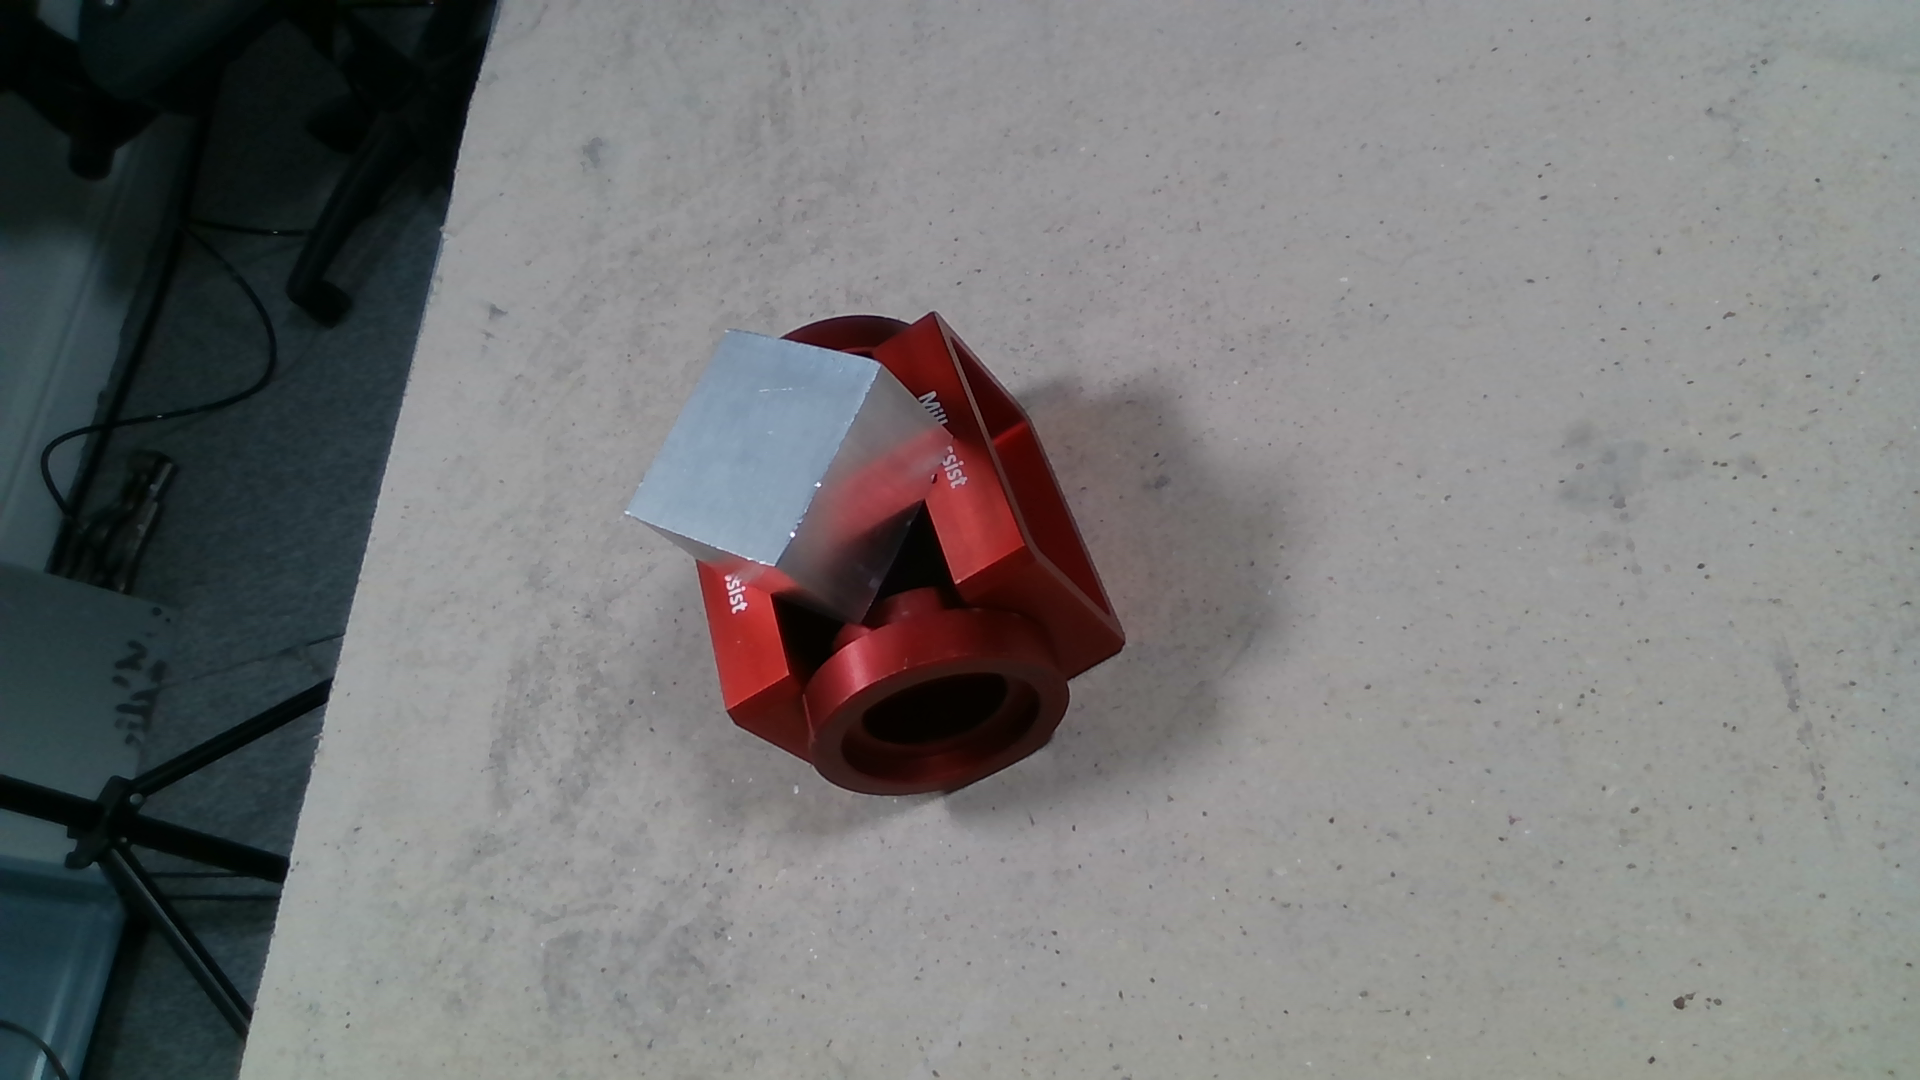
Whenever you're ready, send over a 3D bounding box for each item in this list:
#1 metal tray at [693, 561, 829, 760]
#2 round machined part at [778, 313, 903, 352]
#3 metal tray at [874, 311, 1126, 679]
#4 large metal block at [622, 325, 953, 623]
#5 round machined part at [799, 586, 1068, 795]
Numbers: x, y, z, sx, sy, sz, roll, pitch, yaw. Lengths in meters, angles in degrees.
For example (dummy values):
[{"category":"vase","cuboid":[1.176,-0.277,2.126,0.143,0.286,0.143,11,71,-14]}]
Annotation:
[{"category":"metal tray","cuboid":[-0.069,0.027,0.570,0.030,0.090,0.130,-30,53,15]},{"category":"round machined part","cuboid":[-0.047,-0.048,0.592,0.098,0.098,0.042,-28,54,16]},{"category":"metal tray","cuboid":[0.015,-0.019,0.545,0.030,0.090,0.130,-31,53,14]},{"category":"large metal block","cuboid":[-0.063,-0.025,0.502,0.080,0.050,0.080,17,75,37]},{"category":"round machined part","cuboid":[-0.012,0.054,0.517,0.098,0.098,0.042,-28,54,16]}]
